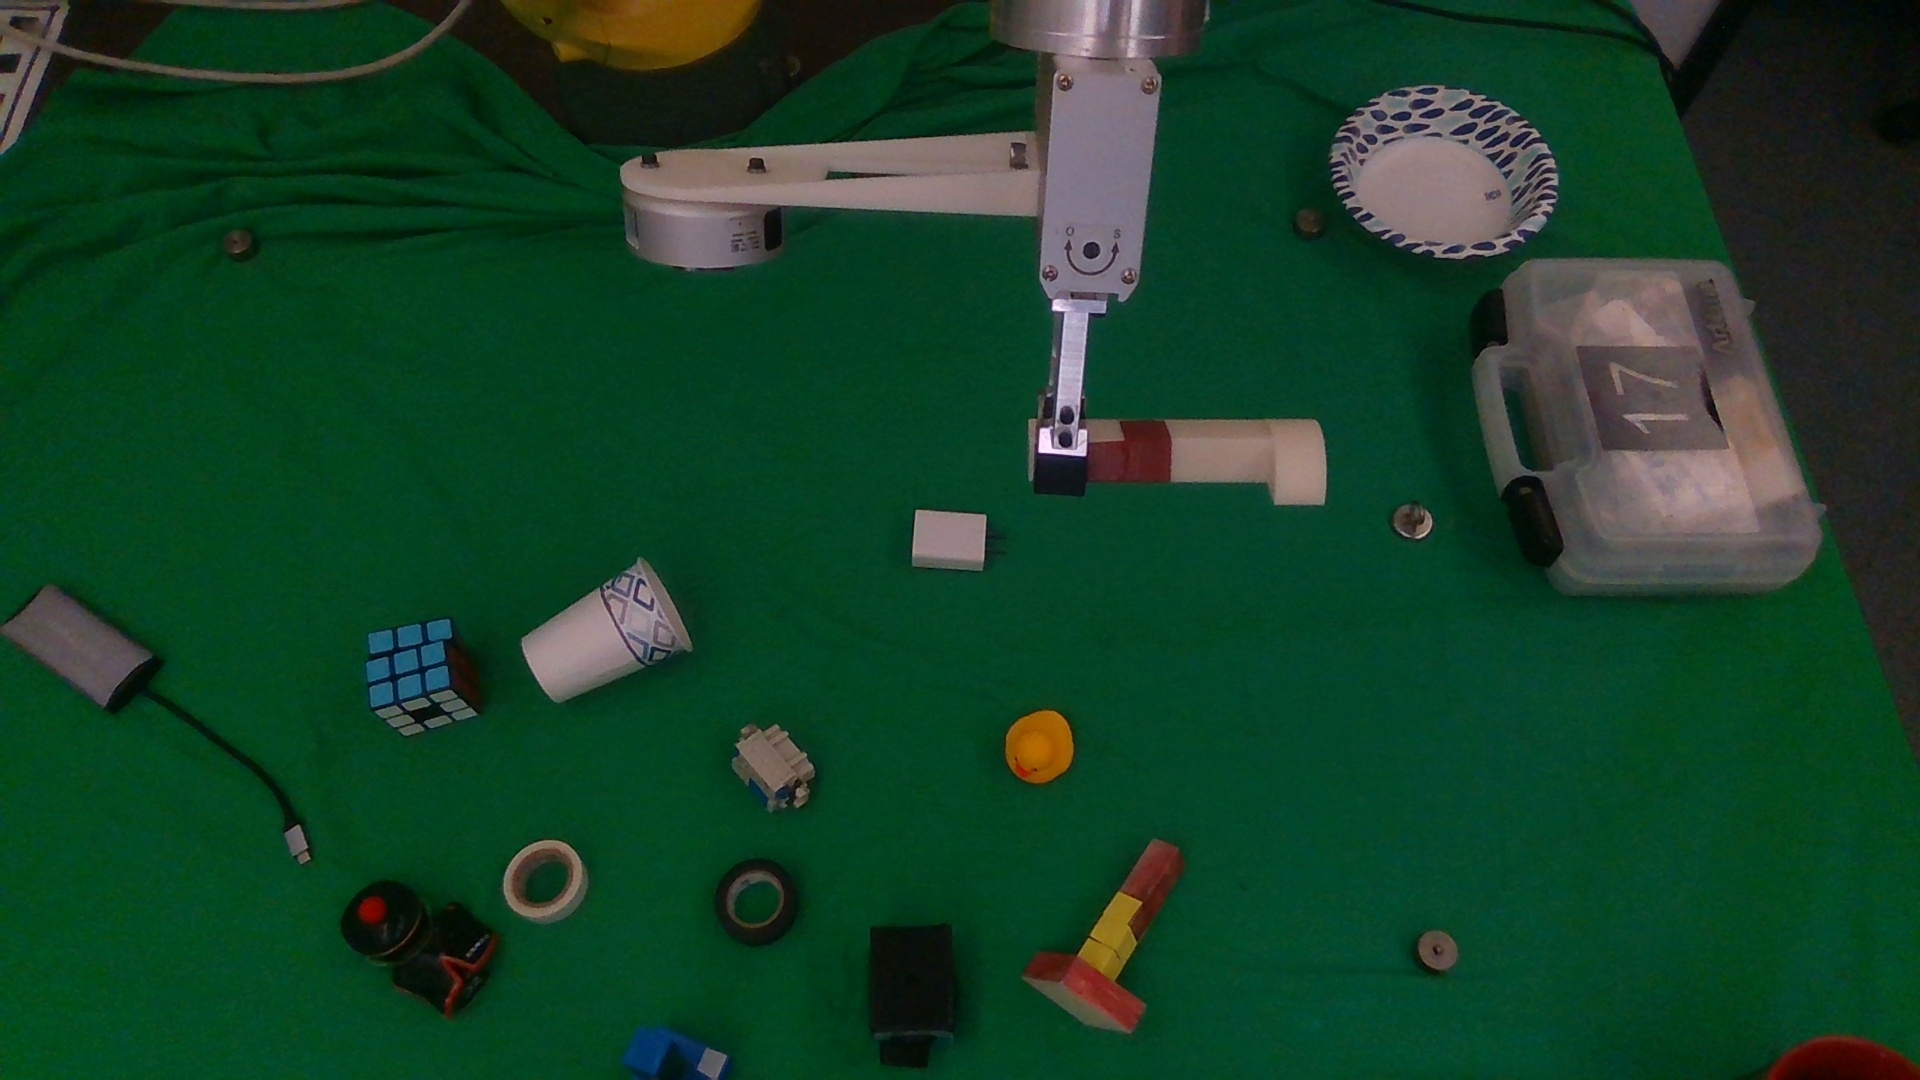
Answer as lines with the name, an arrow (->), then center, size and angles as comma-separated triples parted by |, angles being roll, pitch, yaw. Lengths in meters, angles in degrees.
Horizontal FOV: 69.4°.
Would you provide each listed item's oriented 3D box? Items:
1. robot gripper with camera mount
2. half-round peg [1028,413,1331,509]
robot gripper with camera mount -> -0.046, -0.101, 0.537 | 0.193, 0.158, 0.119 | 0, 29, -1
half-round peg -> 0.088, -0.036, 0.572 | 0.122, 0.031, 0.054 | 1, 28, 2
